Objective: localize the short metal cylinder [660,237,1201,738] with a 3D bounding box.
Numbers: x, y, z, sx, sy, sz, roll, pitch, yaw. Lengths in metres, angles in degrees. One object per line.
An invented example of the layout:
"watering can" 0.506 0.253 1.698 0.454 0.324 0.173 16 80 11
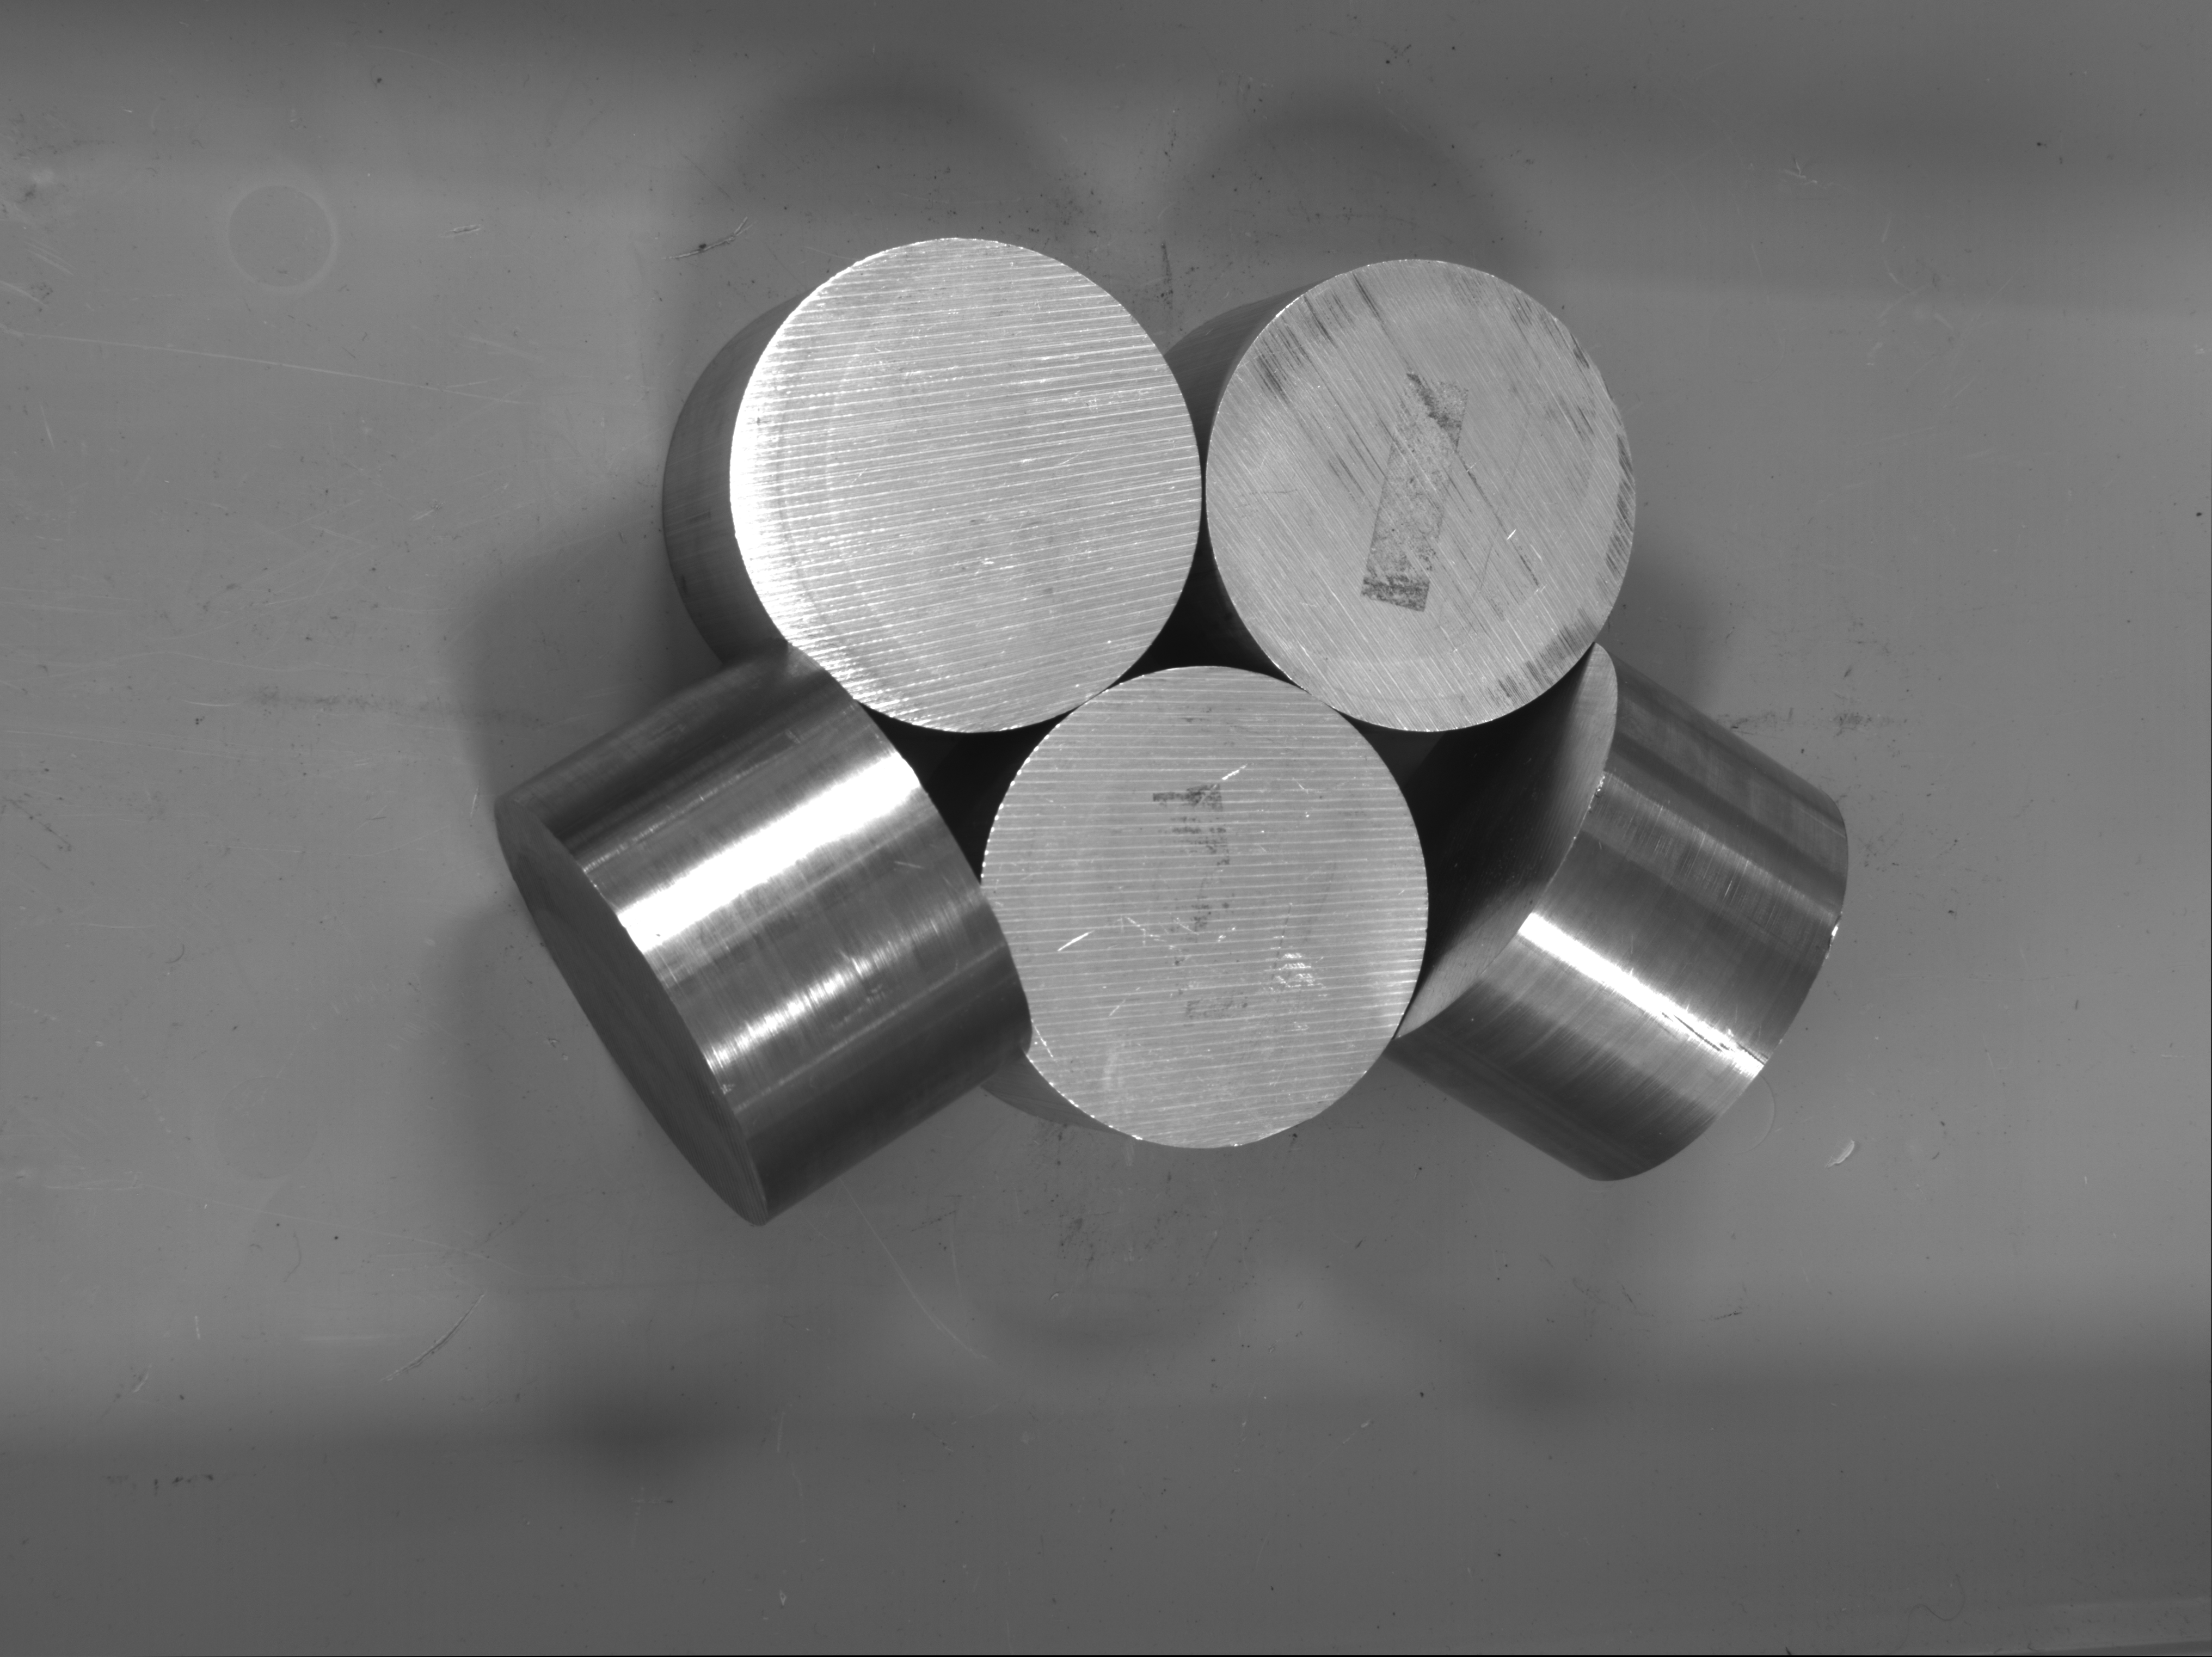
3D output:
"short metal cylinder" -0.030 -0.056 0.617 0.080 0.050 0.080 0 90 -20

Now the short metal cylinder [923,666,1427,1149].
"short metal cylinder" 0.008 0.013 0.631 0.080 0.050 0.080 0 90 -20

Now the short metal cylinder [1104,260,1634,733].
"short metal cylinder" 0.045 -0.056 0.645 0.080 0.050 0.080 0 90 -20

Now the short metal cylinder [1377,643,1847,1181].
"short metal cylinder" 0.084 0.015 0.643 0.050 0.080 0.080 31 80 -17

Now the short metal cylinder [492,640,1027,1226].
"short metal cylinder" -0.056 0.017 0.592 0.050 0.080 0.080 -32 100 -17
